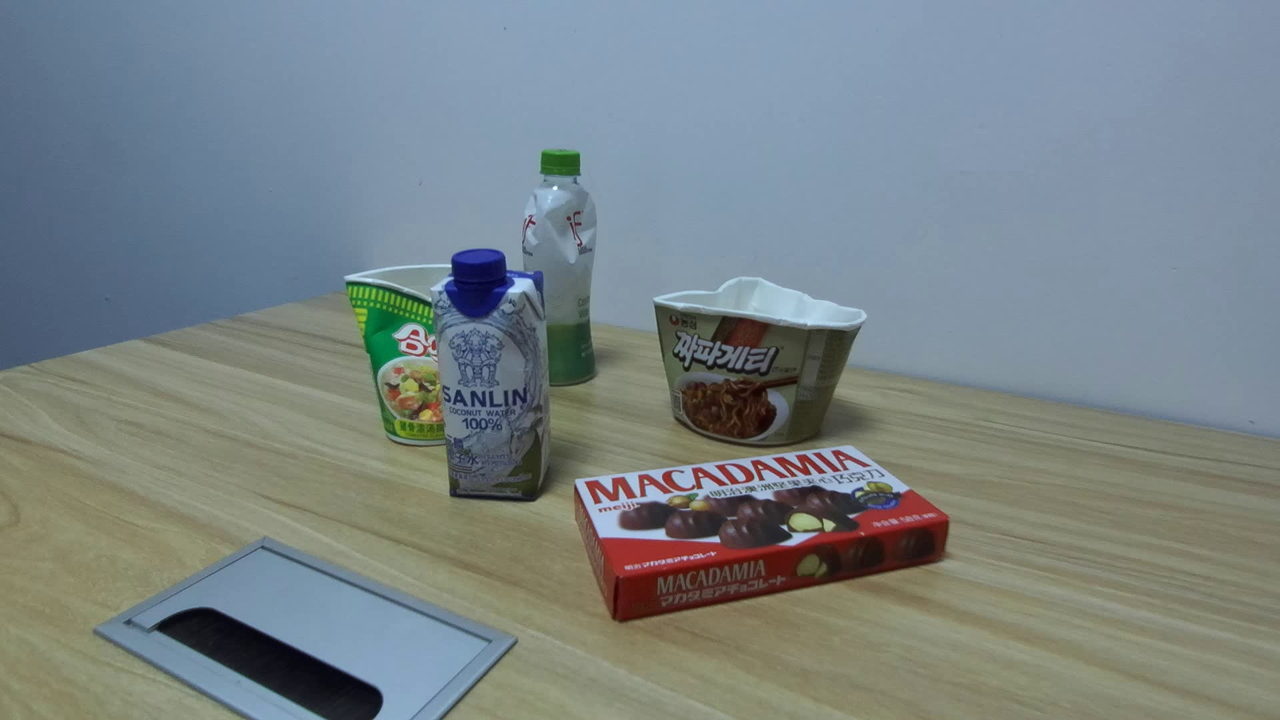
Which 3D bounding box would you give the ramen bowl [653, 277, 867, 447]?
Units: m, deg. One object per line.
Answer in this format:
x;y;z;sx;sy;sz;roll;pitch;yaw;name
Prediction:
0.090;0.000;0.511;0.133;0.097;0.114;17;25;39;ramen bowl

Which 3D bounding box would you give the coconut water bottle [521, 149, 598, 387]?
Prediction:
-0.067;-0.075;0.584;0.067;0.187;0.067;2;17;0;coconut water bottle

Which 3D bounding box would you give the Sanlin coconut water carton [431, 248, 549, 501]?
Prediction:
-0.085;0.007;0.412;0.060;0.144;0.061;1;18;3;Sanlin coconut water carton

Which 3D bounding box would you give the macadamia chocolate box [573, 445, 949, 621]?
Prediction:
0.061;0.086;0.379;0.178;0.027;0.095;-5;19;-16;macadamia chocolate box

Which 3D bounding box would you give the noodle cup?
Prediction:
-0.144;-0.006;0.491;0.082;0.122;0.075;0;8;35;noodle cup
